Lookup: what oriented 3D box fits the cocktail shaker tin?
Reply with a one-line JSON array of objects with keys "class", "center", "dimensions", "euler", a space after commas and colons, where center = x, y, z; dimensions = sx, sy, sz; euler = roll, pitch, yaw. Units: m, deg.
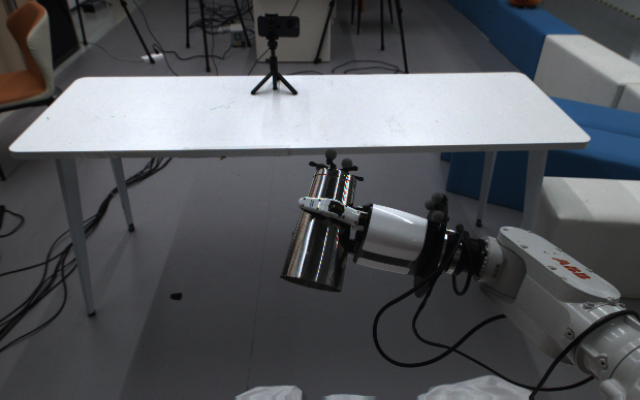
[{"class": "cocktail shaker tin", "center": [0.004, 0.043, 0.721], "dimensions": [0.093, 0.093, 0.170], "euler": [11, 74, 12]}]
